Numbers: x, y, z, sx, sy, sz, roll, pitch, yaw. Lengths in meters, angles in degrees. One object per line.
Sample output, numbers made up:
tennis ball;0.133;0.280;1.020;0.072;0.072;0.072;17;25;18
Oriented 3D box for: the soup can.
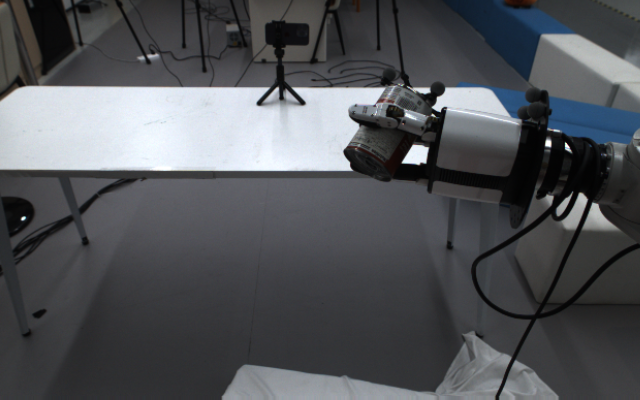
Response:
soup can;0.084;-0.084;0.595;0.067;0.067;0.101;27;78;32
